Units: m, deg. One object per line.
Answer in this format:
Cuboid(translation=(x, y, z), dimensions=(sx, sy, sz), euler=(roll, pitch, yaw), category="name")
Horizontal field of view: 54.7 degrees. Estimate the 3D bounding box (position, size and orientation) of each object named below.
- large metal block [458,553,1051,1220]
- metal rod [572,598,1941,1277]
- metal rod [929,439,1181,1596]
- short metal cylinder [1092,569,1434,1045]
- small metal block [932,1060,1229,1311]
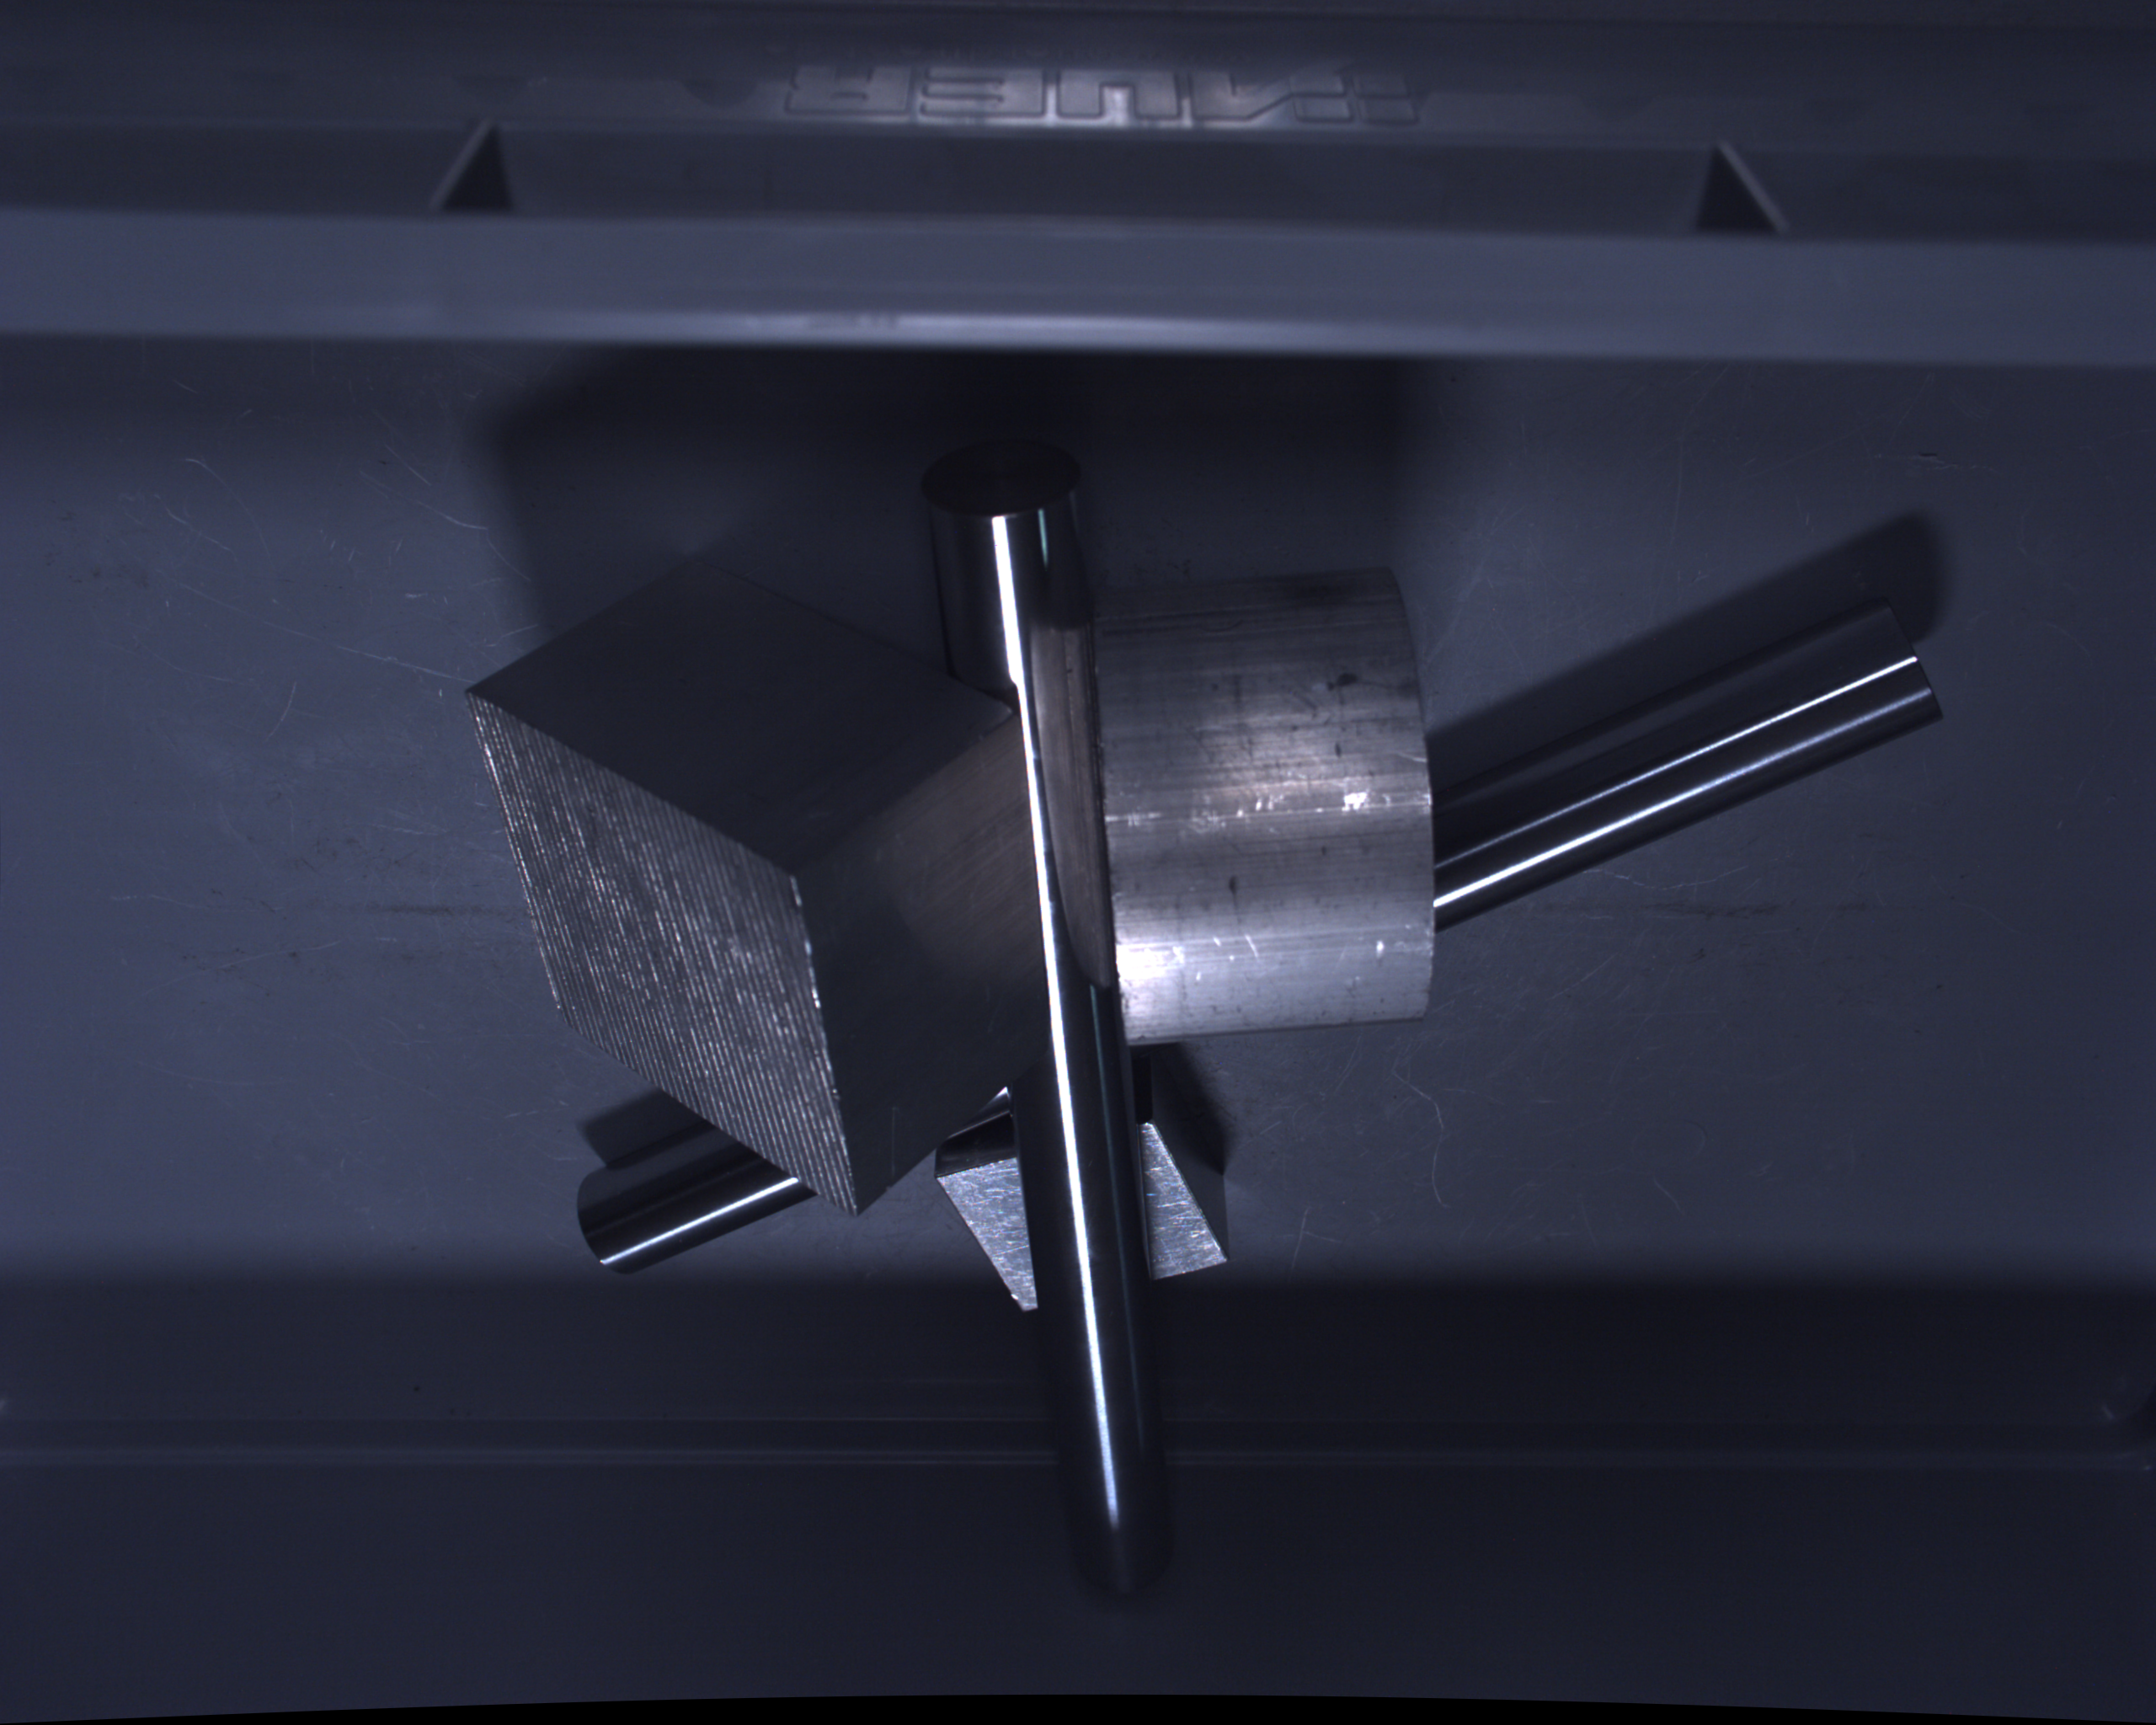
Cuboid(translation=(-0.054, 0.003, 0.367), dimensions=(0.080, 0.050, 0.079), euler=(27, 139, 31), category="large metal block")
Cuboid(translation=(0.022, 0.023, 0.426), dimensions=(0.300, 0.025, 0.025), euler=(-25, 126, 19), category="metal rod")
Cuboid(translation=(0.001, 0.055, 0.420), dimensions=(0.025, 0.025, 0.298), euler=(-4, 129, 3), category="metal rod")
Cuboid(translation=(0.030, -0.010, 0.362), dimensions=(0.050, 0.080, 0.079), euler=(-4, 130, 1), category="short metal cylinder")
Cuboid(translation=(0.001, 0.070, 0.467), dimensions=(0.050, 0.025, 0.050), euler=(-17, 129, 13), category="small metal block")
